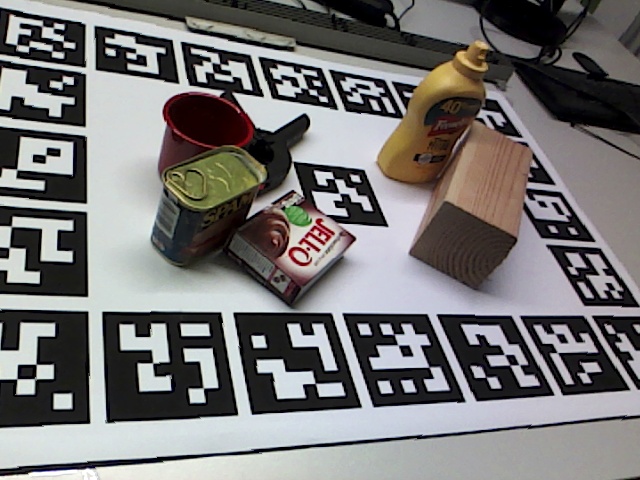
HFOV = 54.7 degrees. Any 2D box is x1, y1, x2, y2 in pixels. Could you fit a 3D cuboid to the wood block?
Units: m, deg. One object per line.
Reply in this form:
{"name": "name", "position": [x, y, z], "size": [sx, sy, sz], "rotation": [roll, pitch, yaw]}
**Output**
{"name": "wood block", "position": [0.193, -0.046, 0.770], "size": [0.090, 0.091, 0.206], "rotation": [28, 40, 3]}

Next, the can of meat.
{"name": "can of meat", "position": [-0.108, -0.032, 0.593], "size": [0.058, 0.084, 0.101], "rotation": [46, 45, 17]}

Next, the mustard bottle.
{"name": "mustard bottle", "position": [0.150, -0.163, 0.779], "size": [0.095, 0.191, 0.059], "rotation": [-1, 51, -28]}

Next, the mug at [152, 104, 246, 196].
{"name": "mug", "position": [-0.134, -0.095, 0.682], "size": [0.093, 0.081, 0.117], "rotation": [20, 45, -9]}

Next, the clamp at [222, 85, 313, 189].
{"name": "clamp", "position": [-0.071, -0.118, 0.744], "size": [0.121, 0.036, 0.165], "rotation": [19, 45, -13]}

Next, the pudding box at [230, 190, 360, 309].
{"name": "pudding box", "position": [-0.024, 0.007, 0.639], "size": [0.090, 0.038, 0.113], "rotation": [39, 42, 11]}
